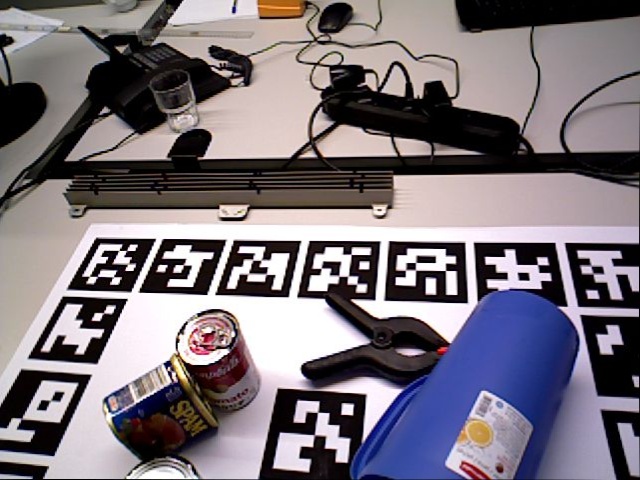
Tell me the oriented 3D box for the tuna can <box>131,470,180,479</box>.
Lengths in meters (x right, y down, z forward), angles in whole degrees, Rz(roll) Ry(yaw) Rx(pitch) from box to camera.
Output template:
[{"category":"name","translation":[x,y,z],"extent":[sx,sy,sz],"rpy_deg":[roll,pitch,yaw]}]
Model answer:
[{"category":"tuna can","translation":[-0.161,0.272,0.525],"extent":[0.086,0.034,0.084],"rpy_deg":[-6,48,6]}]

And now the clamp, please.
[{"category":"clamp","translation":[0.051,0.131,0.625],"extent":[0.165,0.037,0.119],"rpy_deg":[5,44,11]}]

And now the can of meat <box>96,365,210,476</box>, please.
[{"category":"can of meat","translation":[-0.172,0.188,0.555],"extent":[0.083,0.103,0.057],"rpy_deg":[-27,49,-10]}]

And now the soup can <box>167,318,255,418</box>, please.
[{"category":"soup can","translation":[-0.116,0.142,0.592],"extent":[0.068,0.104,0.067],"rpy_deg":[-7,48,7]}]

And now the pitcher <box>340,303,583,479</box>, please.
[{"category":"pitcher","translation":[0.137,0.170,0.484],"extent":[0.191,0.135,0.237],"rpy_deg":[0,36,42]}]
